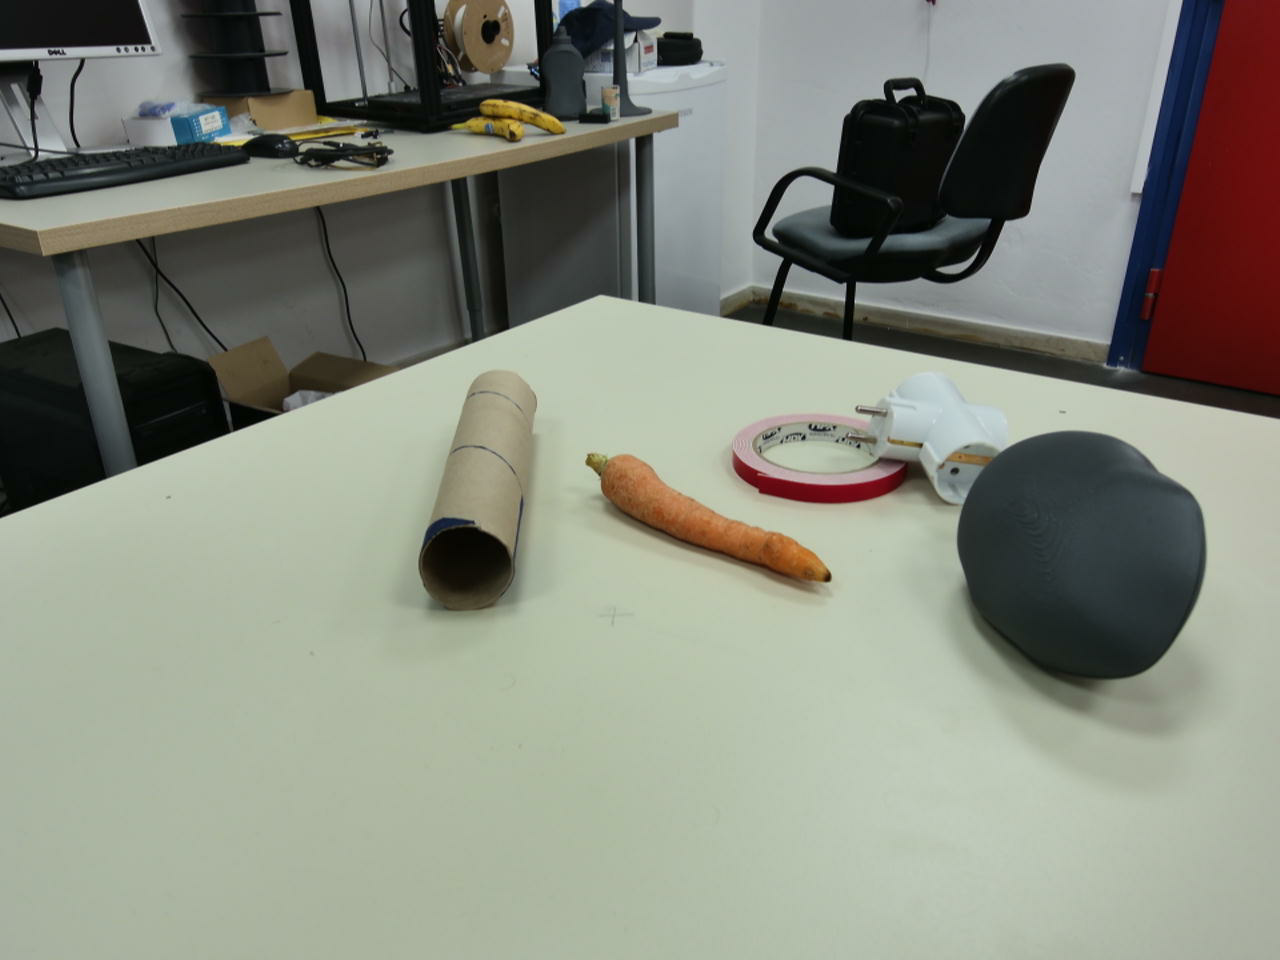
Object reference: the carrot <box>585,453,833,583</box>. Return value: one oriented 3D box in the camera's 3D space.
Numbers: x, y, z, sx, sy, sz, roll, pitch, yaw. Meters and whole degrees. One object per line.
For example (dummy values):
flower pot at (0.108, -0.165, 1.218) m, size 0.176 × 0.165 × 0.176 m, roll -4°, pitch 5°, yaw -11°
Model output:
carrot at (0.031, 0.018, 0.545) m, size 0.030 × 0.032 × 0.173 m, roll -22°, pitch 32°, yaw -39°
